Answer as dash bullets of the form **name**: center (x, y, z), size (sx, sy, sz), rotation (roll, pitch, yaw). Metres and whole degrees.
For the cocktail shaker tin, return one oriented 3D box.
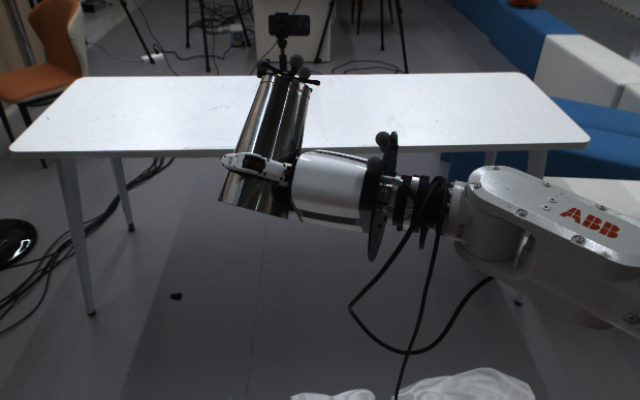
- **cocktail shaker tin**: center (-0.065, -0.069, 0.622), size (0.093, 0.170, 0.093), rotation (15, -4, 1)
